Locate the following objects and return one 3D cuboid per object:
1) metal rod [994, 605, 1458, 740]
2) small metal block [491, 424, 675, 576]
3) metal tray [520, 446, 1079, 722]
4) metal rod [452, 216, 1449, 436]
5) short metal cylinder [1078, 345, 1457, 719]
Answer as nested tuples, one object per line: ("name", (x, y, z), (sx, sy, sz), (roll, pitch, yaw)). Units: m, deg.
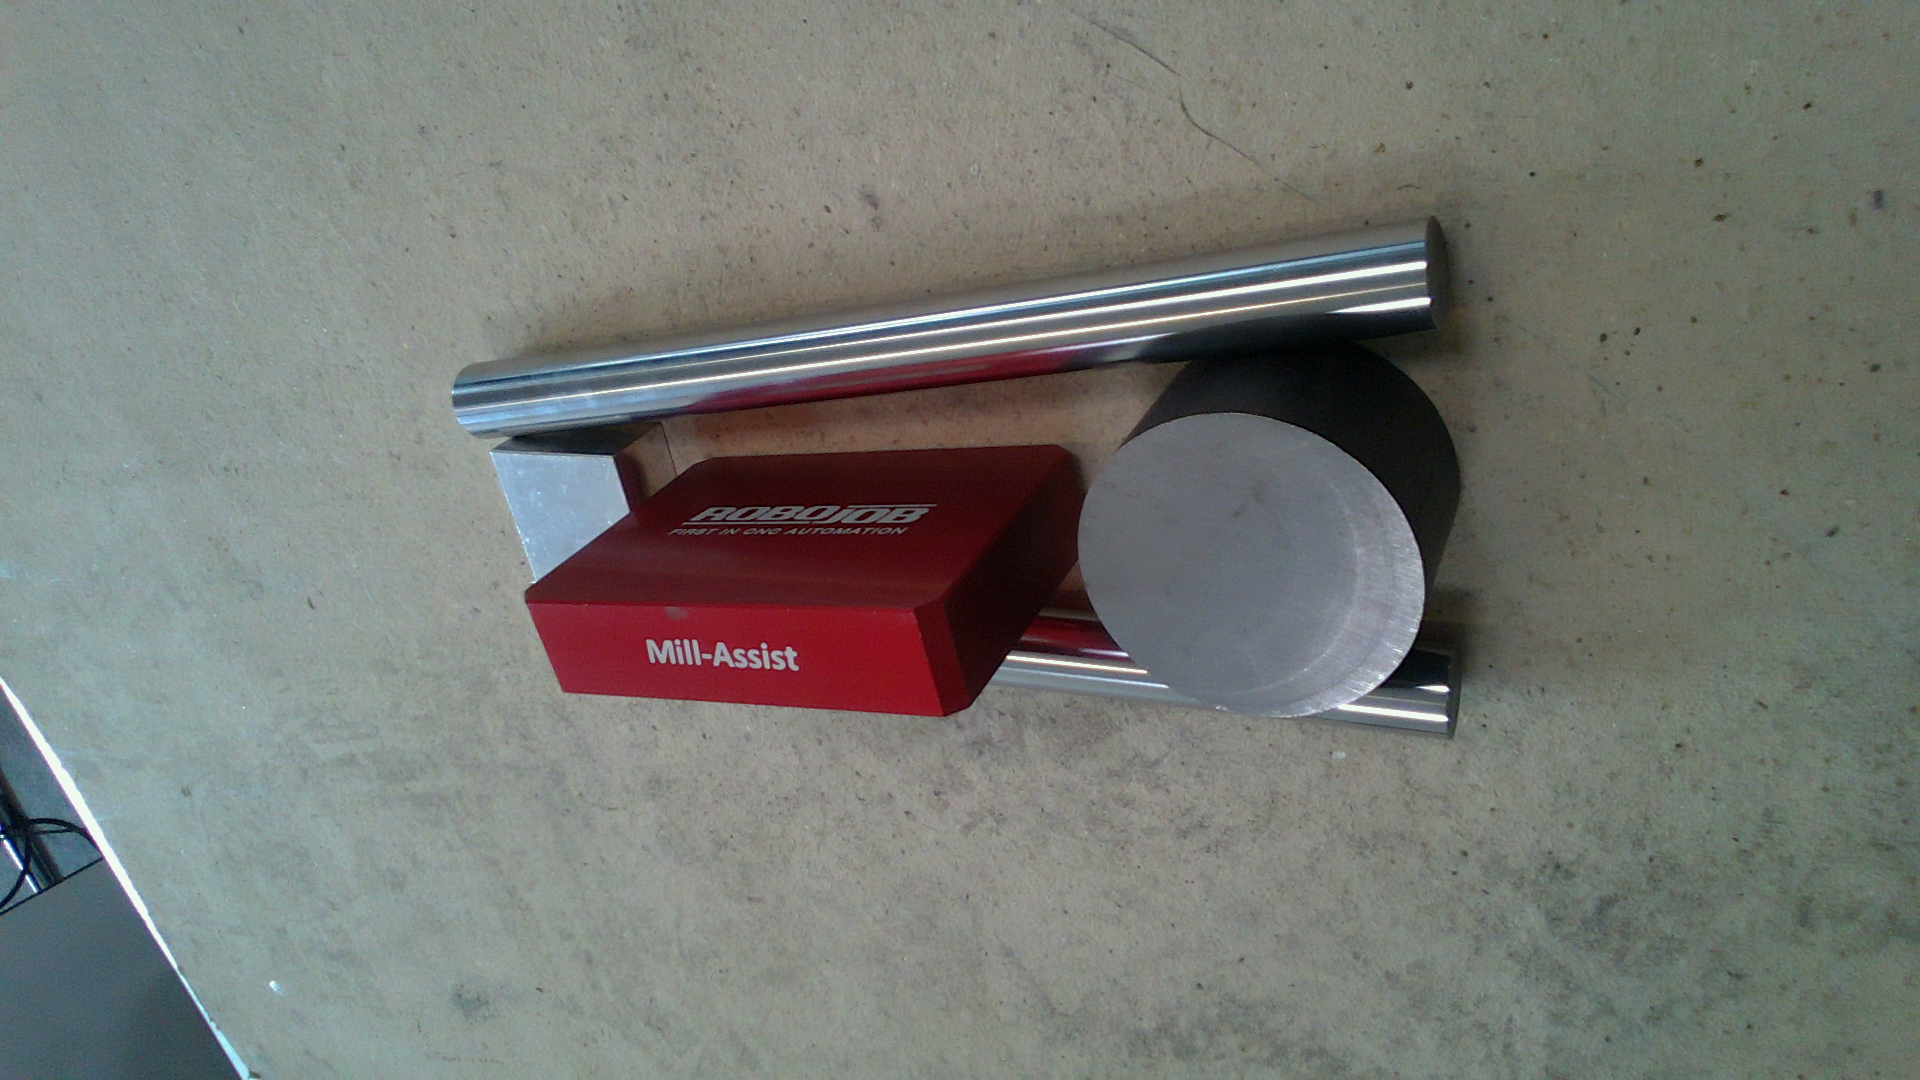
("metal rod", (-0.008, 0.029, 0.416), (0.299, 0.025, 0.025), (4, 120, 26))
("small metal block", (-0.119, -0.012, 0.450), (0.050, 0.025, 0.050), (4, 120, 26))
("metal tray", (-0.042, 0.008, 0.377), (0.130, 0.090, 0.030), (0, 118, 29))
("metal rod", (-0.025, -0.052, 0.375), (0.299, 0.025, 0.025), (-3, 117, 29))
("short metal cylinder", (0.075, -0.004, 0.333), (0.080, 0.050, 0.080), (13, 124, 21))
